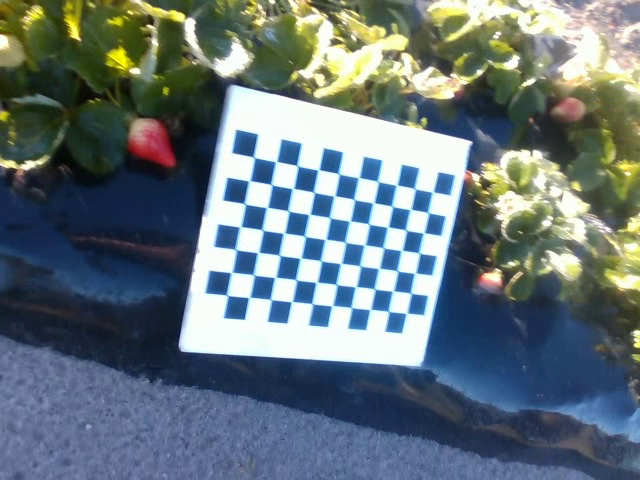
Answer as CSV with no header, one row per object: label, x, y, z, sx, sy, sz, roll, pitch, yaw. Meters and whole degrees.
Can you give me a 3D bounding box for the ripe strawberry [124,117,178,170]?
ripe strawberry,-0.174,-0.096,0.659,0.040,0.065,0.040,-43,21,-15
